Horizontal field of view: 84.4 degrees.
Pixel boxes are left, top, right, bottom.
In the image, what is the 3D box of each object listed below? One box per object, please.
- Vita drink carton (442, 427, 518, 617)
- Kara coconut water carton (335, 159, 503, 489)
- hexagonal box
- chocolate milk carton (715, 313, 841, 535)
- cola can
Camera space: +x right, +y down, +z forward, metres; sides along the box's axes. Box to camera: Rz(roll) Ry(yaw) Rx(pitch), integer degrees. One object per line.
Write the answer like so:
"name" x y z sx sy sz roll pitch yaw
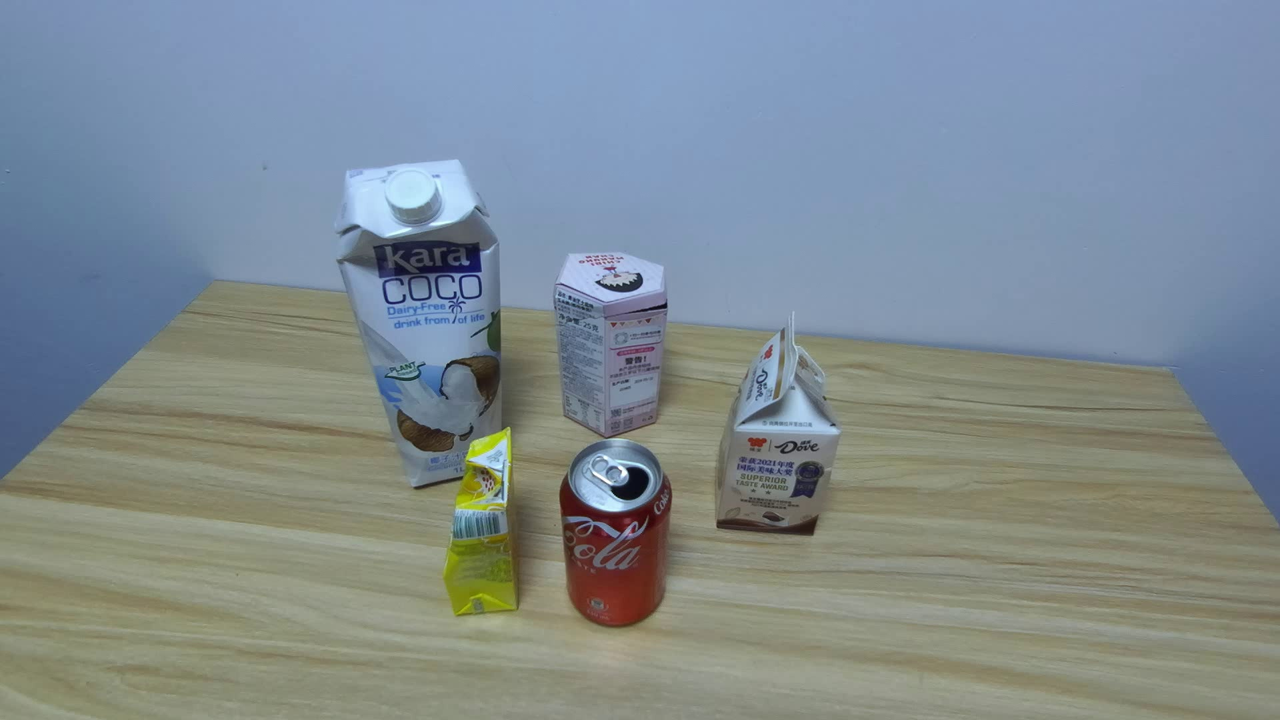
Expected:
"Vita drink carton" -0.102 0.104 0.451 0.046 0.110 0.071 -2 39 -7
"Kara coconut water carton" -0.142 -0.021 0.492 0.100 0.244 0.071 -13 43 -16
"hexagonal box" -0.022 -0.014 0.569 0.092 0.135 0.084 -15 43 -19
"chocolate milk carton" 0.096 0.043 0.490 0.073 0.155 0.084 5 40 3
"cola can" -0.015 0.109 0.442 0.068 0.120 0.067 1 41 0
